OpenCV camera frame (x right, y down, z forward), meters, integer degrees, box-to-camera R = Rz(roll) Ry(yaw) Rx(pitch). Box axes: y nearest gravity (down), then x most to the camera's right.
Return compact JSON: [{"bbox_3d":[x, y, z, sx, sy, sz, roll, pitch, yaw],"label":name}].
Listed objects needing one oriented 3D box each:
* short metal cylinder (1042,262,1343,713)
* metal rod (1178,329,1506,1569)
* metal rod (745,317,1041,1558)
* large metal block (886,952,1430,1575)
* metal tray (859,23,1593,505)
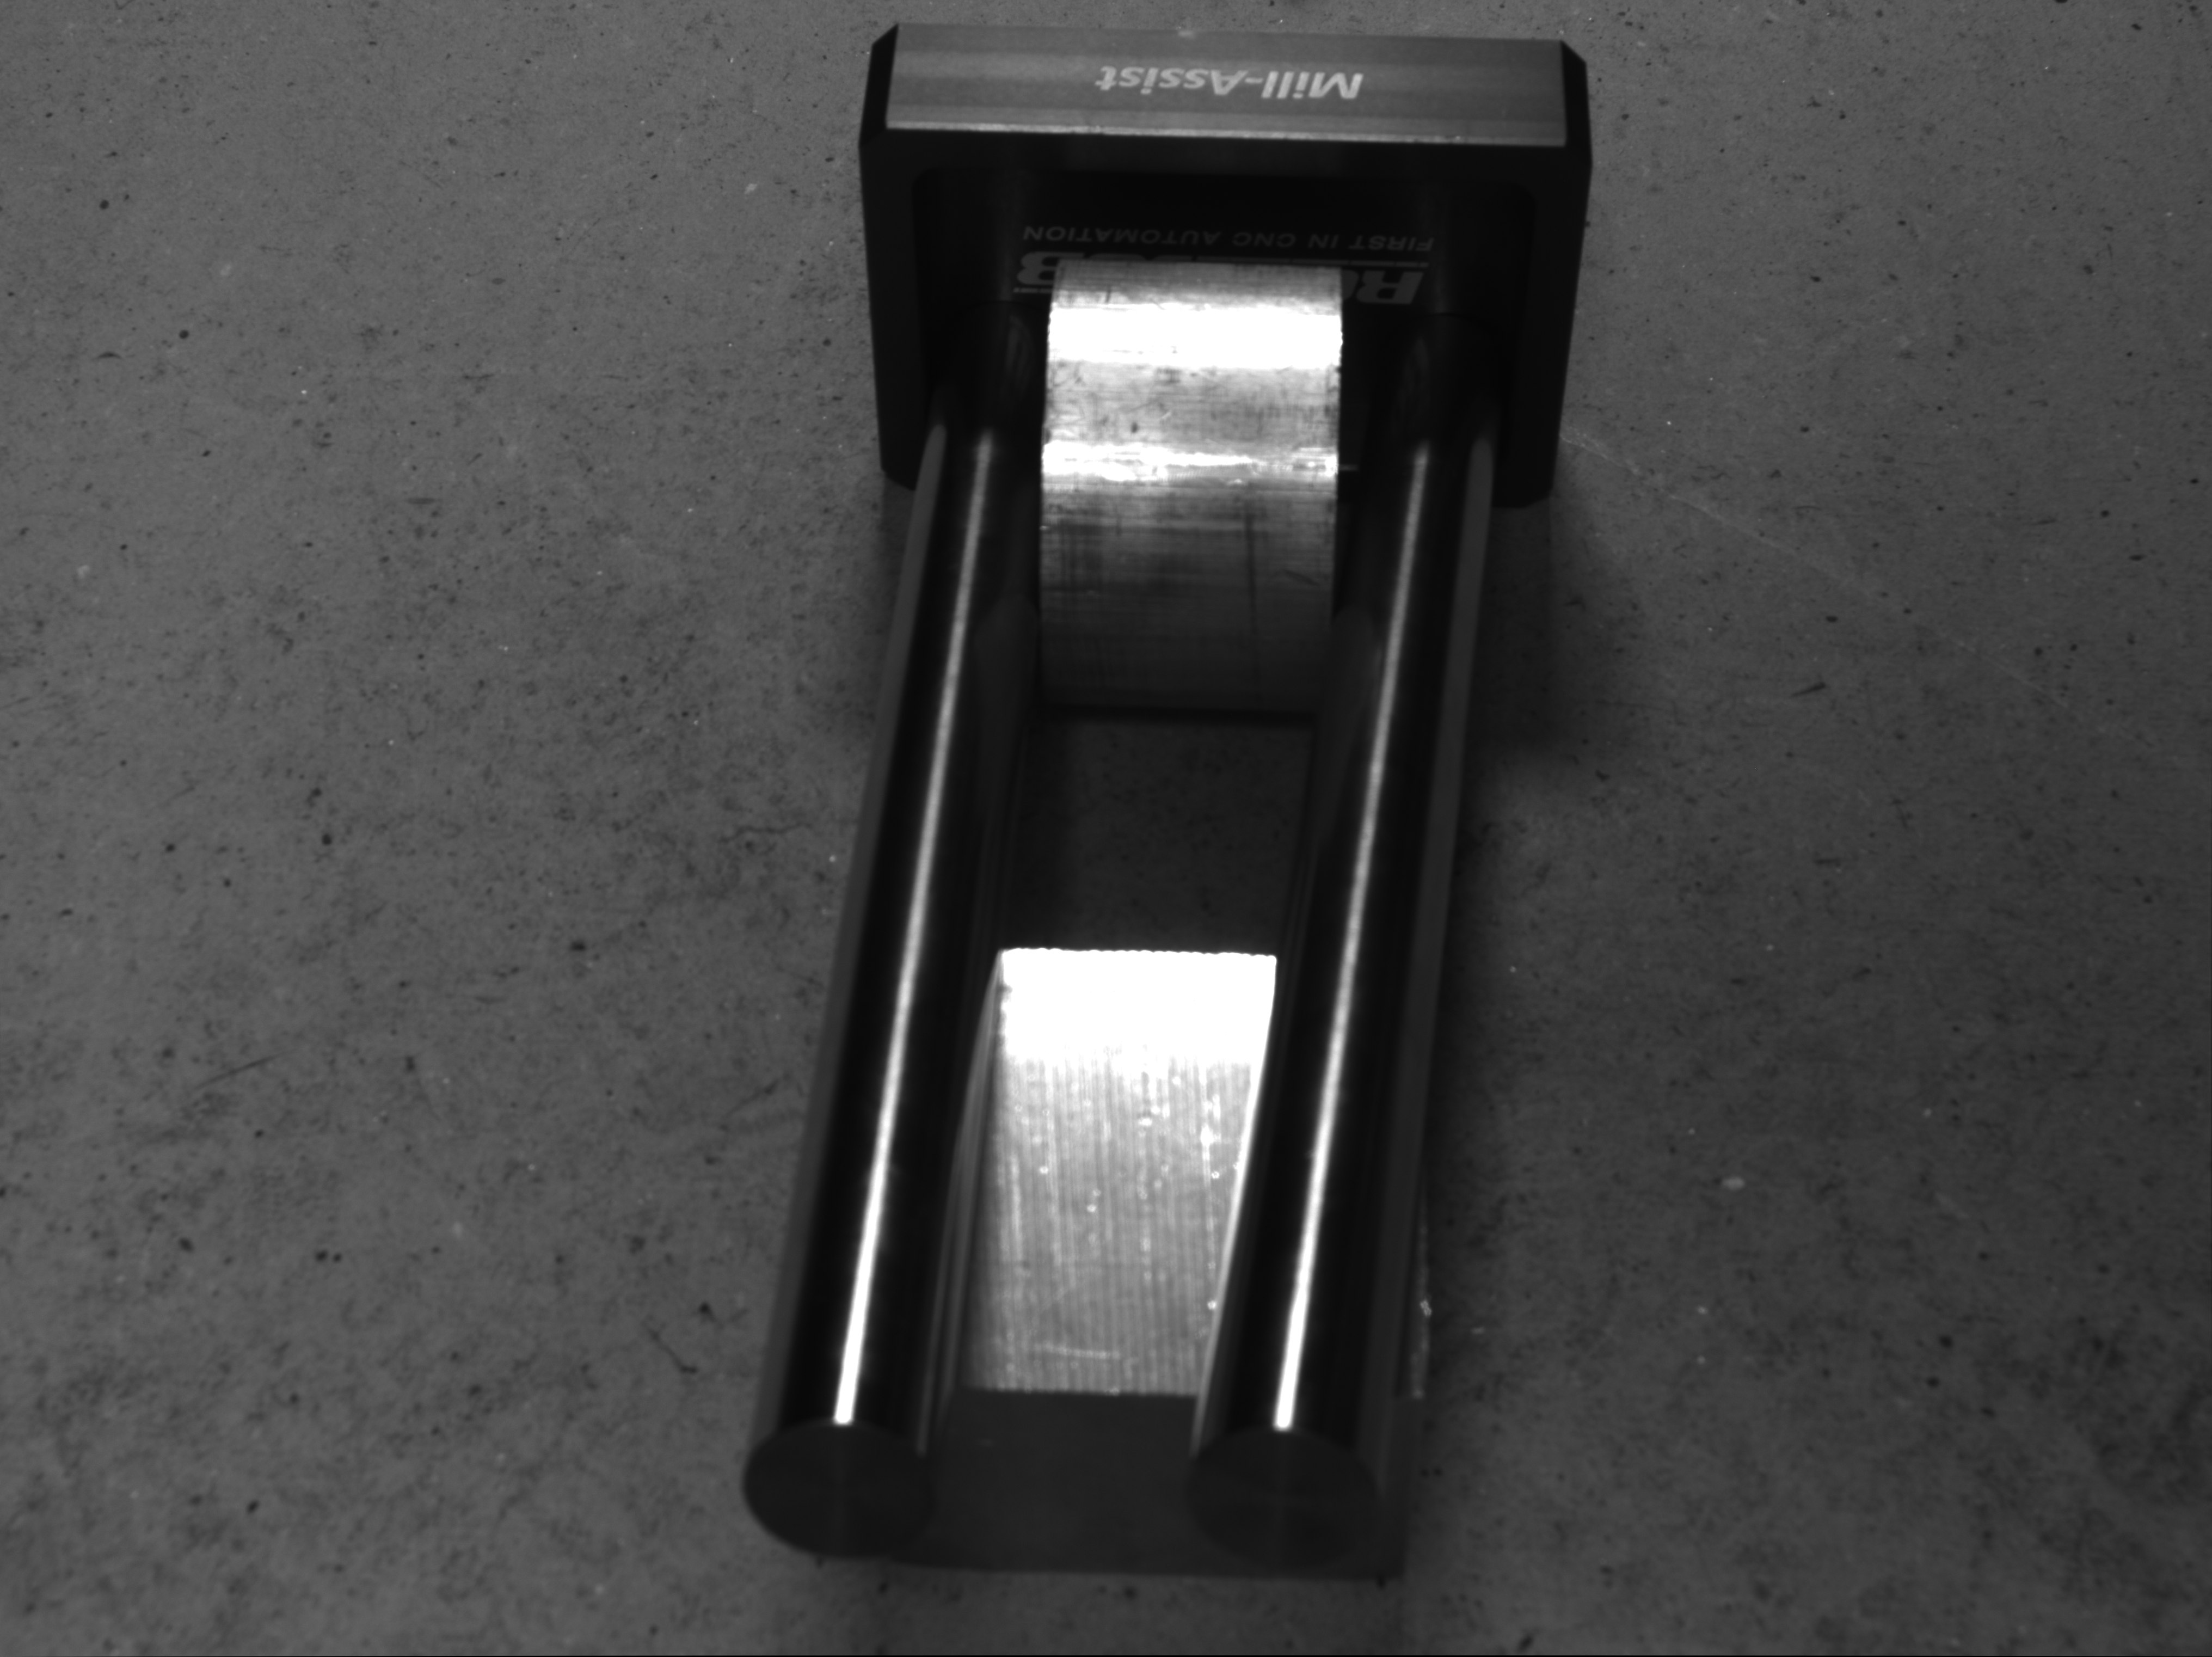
[{"bbox_3d":[0.015,-0.061,0.659,0.050,0.080,0.080,2,50,1],"label":"short metal cylinder"},{"bbox_3d":[0.043,0.000,0.582,0.025,0.025,0.300,7,35,6],"label":"metal rod"},{"bbox_3d":[-0.027,-0.002,0.584,0.025,0.025,0.300,2,35,2],"label":"metal rod"},{"bbox_3d":[0.008,0.066,0.567,0.080,0.050,0.080,1,50,1],"label":"large metal block"},{"bbox_3d":[0.022,-0.104,0.688,0.130,0.090,0.030,2,50,2],"label":"metal tray"}]
